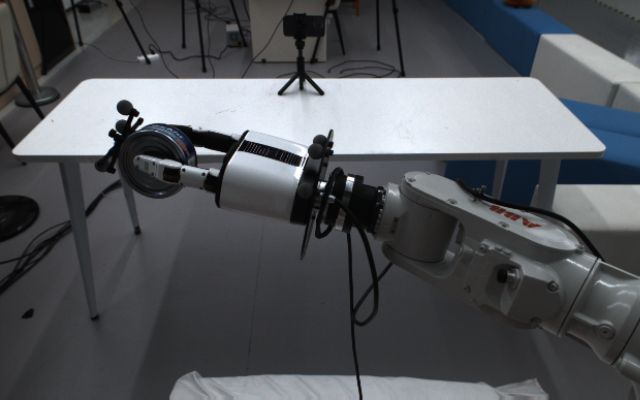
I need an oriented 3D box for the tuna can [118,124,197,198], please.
[{"bbox_3d":[-0.190,-0.046,0.577,0.085,0.085,0.034,4,22,2],"label":"tuna can"}]
